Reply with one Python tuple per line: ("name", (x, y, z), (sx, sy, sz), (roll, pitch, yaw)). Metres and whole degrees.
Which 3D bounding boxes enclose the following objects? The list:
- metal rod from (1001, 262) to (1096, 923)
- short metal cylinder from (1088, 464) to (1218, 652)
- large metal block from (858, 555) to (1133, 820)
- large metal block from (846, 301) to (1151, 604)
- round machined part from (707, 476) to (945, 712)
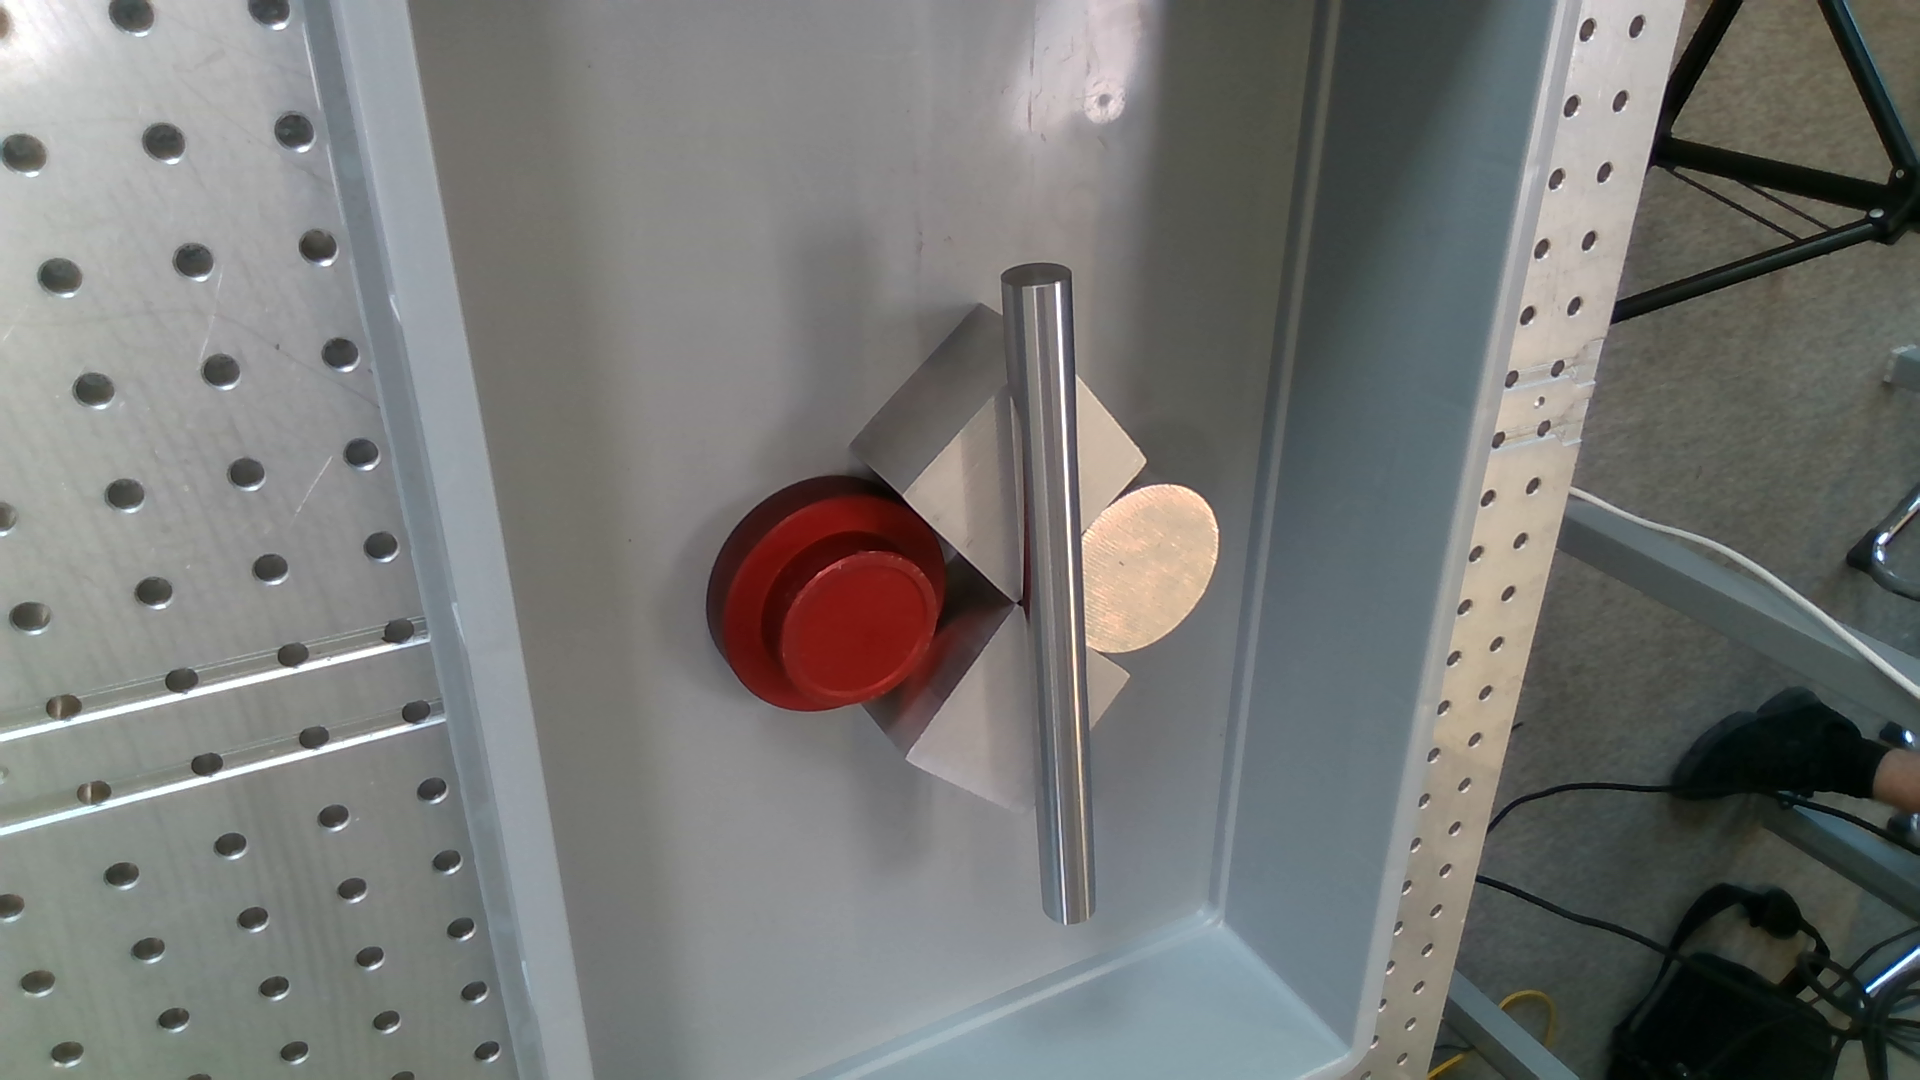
("metal rod", (0.038, 0.037, 0.556), (0.025, 0.025, 0.301), (-19, 123, -22))
("short metal cylinder", (0.066, 0.002, 0.605), (0.080, 0.050, 0.080), (-14, 122, -25))
("large metal block", (0.015, 0.065, 0.605), (0.080, 0.050, 0.080), (33, 95, -38))
("large metal block", (0.016, -0.035, 0.554), (0.080, 0.050, 0.080), (-46, 130, 0))
("round machined part", (-0.049, 0.027, 0.553), (0.098, 0.042, 0.098), (-14, 122, -25))
